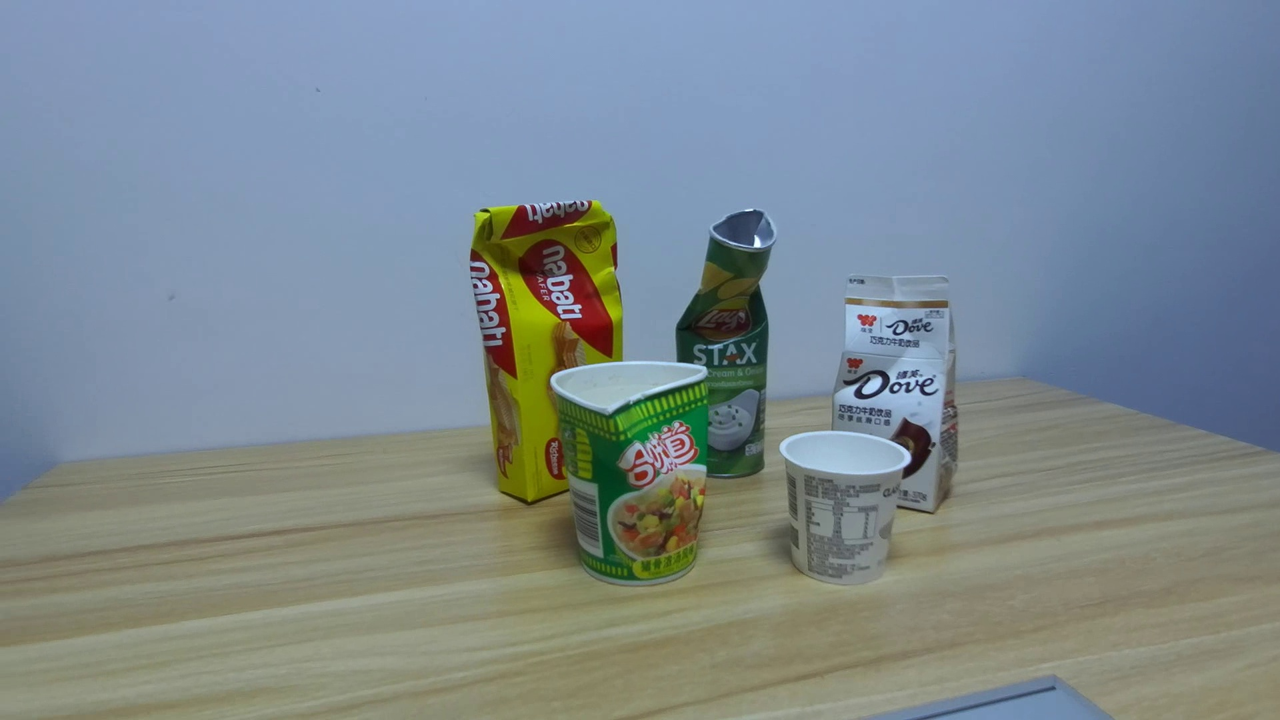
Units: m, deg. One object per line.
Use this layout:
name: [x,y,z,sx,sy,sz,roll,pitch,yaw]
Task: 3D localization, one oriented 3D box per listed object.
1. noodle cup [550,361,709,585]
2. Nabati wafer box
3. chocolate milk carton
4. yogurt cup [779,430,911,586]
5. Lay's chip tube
noodle cup: [-0.002,0.062,0.406,0.094,0.109,0.086,-9,15,-29]
Nabati wafer box: [-0.061,-0.007,0.509,0.114,0.205,0.042,-13,16,-41]
chocolate milk carton: [0.182,0.018,0.495,0.084,0.155,0.073,7,14,27]
yogurt cup: [0.113,0.083,0.398,0.072,0.068,0.072,-1,13,0]
Lay's chip tube: [0.069,-0.009,0.533,0.079,0.199,0.070,-10,23,-30]
